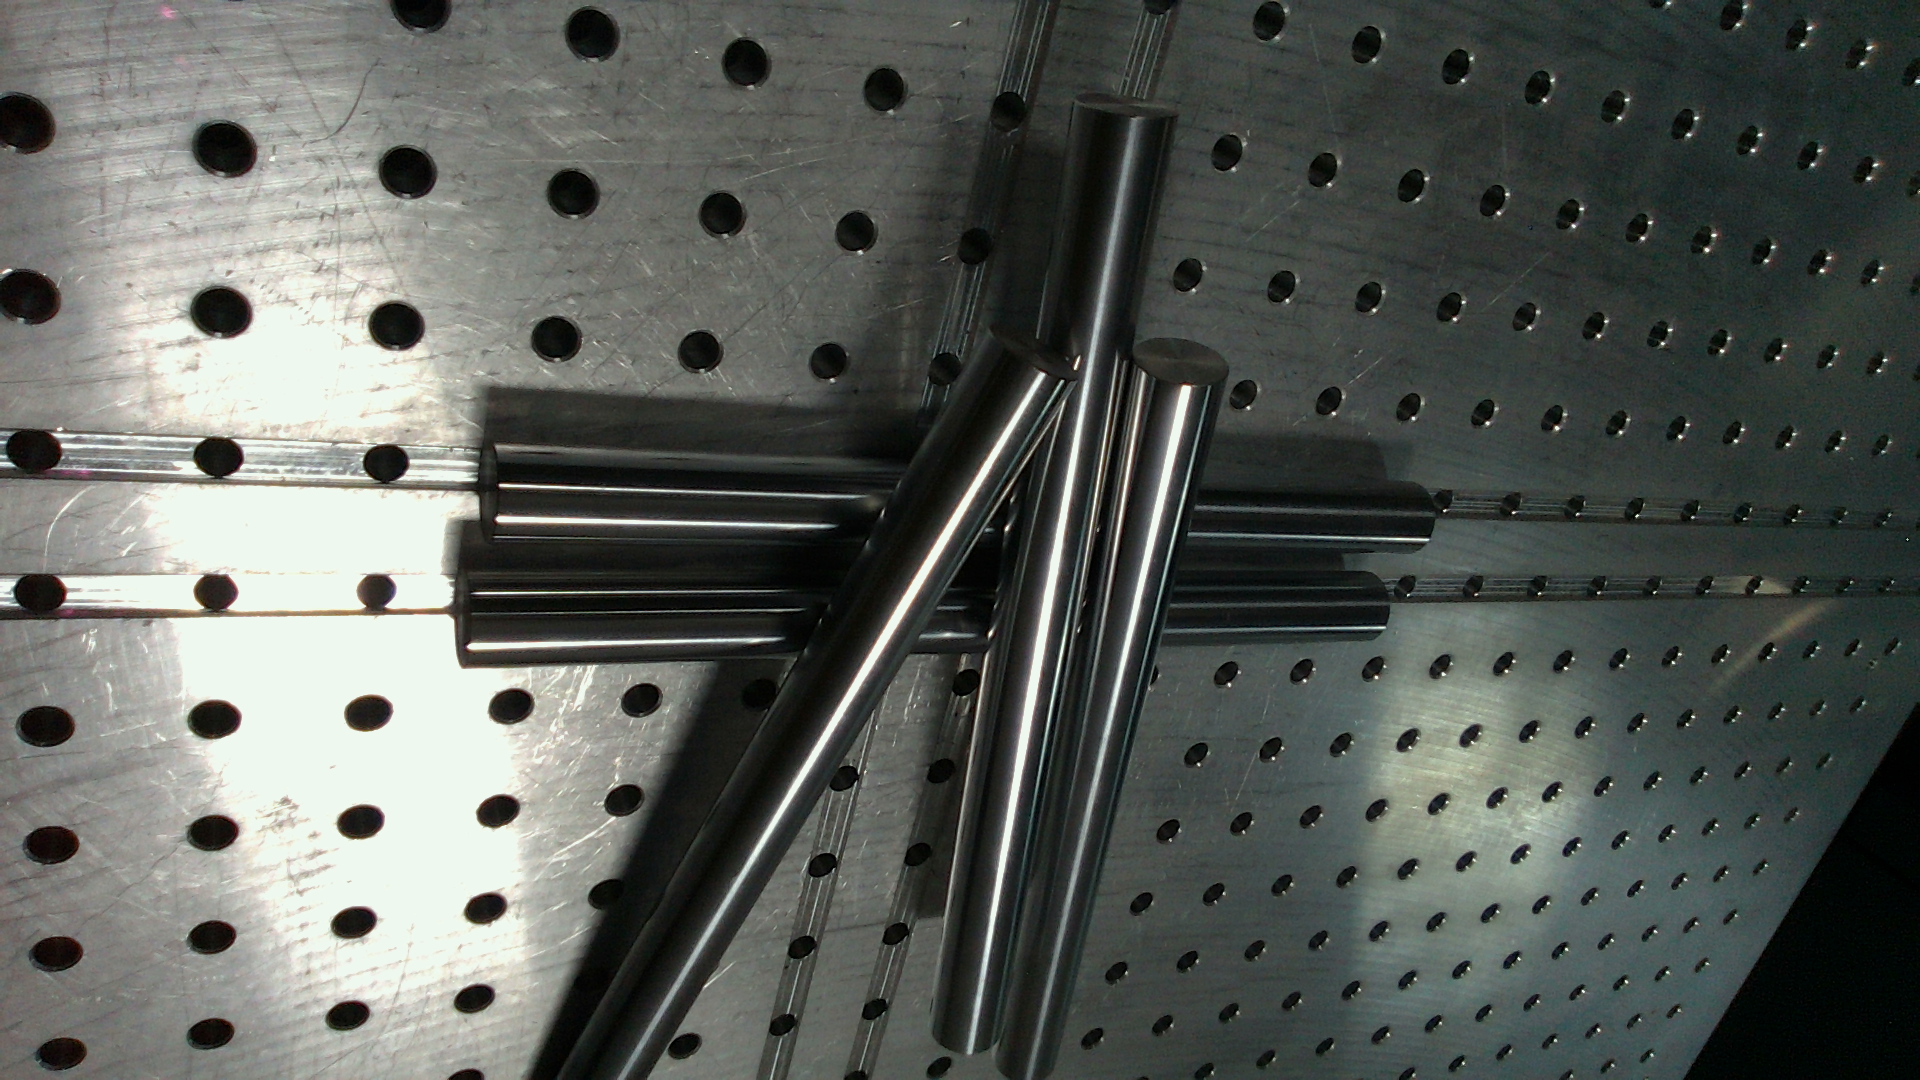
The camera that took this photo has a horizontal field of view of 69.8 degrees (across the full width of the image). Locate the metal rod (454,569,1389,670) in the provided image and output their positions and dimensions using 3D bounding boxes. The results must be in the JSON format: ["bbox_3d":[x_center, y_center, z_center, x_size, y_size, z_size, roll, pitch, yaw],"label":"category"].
[{"bbox_3d":[0.009,0.021,0.410,0.301,0.025,0.025,1,118,-29],"label":"metal rod"}]

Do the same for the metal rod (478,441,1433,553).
[{"bbox_3d":[0.020,-0.010,0.398,0.301,0.025,0.025,1,118,-29],"label":"metal rod"}]

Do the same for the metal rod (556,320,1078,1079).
[{"bbox_3d":[-0.054,0.073,0.384,0.025,0.025,0.300,15,118,-34],"label":"metal rod"}]

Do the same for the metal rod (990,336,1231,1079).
[{"bbox_3d":[0.040,0.075,0.435,0.025,0.025,0.300,-10,130,-23],"label":"metal rod"}]

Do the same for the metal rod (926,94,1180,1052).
[{"bbox_3d":[0.020,0.030,0.390,0.025,0.025,0.300,-6,121,-25],"label":"metal rod"}]
